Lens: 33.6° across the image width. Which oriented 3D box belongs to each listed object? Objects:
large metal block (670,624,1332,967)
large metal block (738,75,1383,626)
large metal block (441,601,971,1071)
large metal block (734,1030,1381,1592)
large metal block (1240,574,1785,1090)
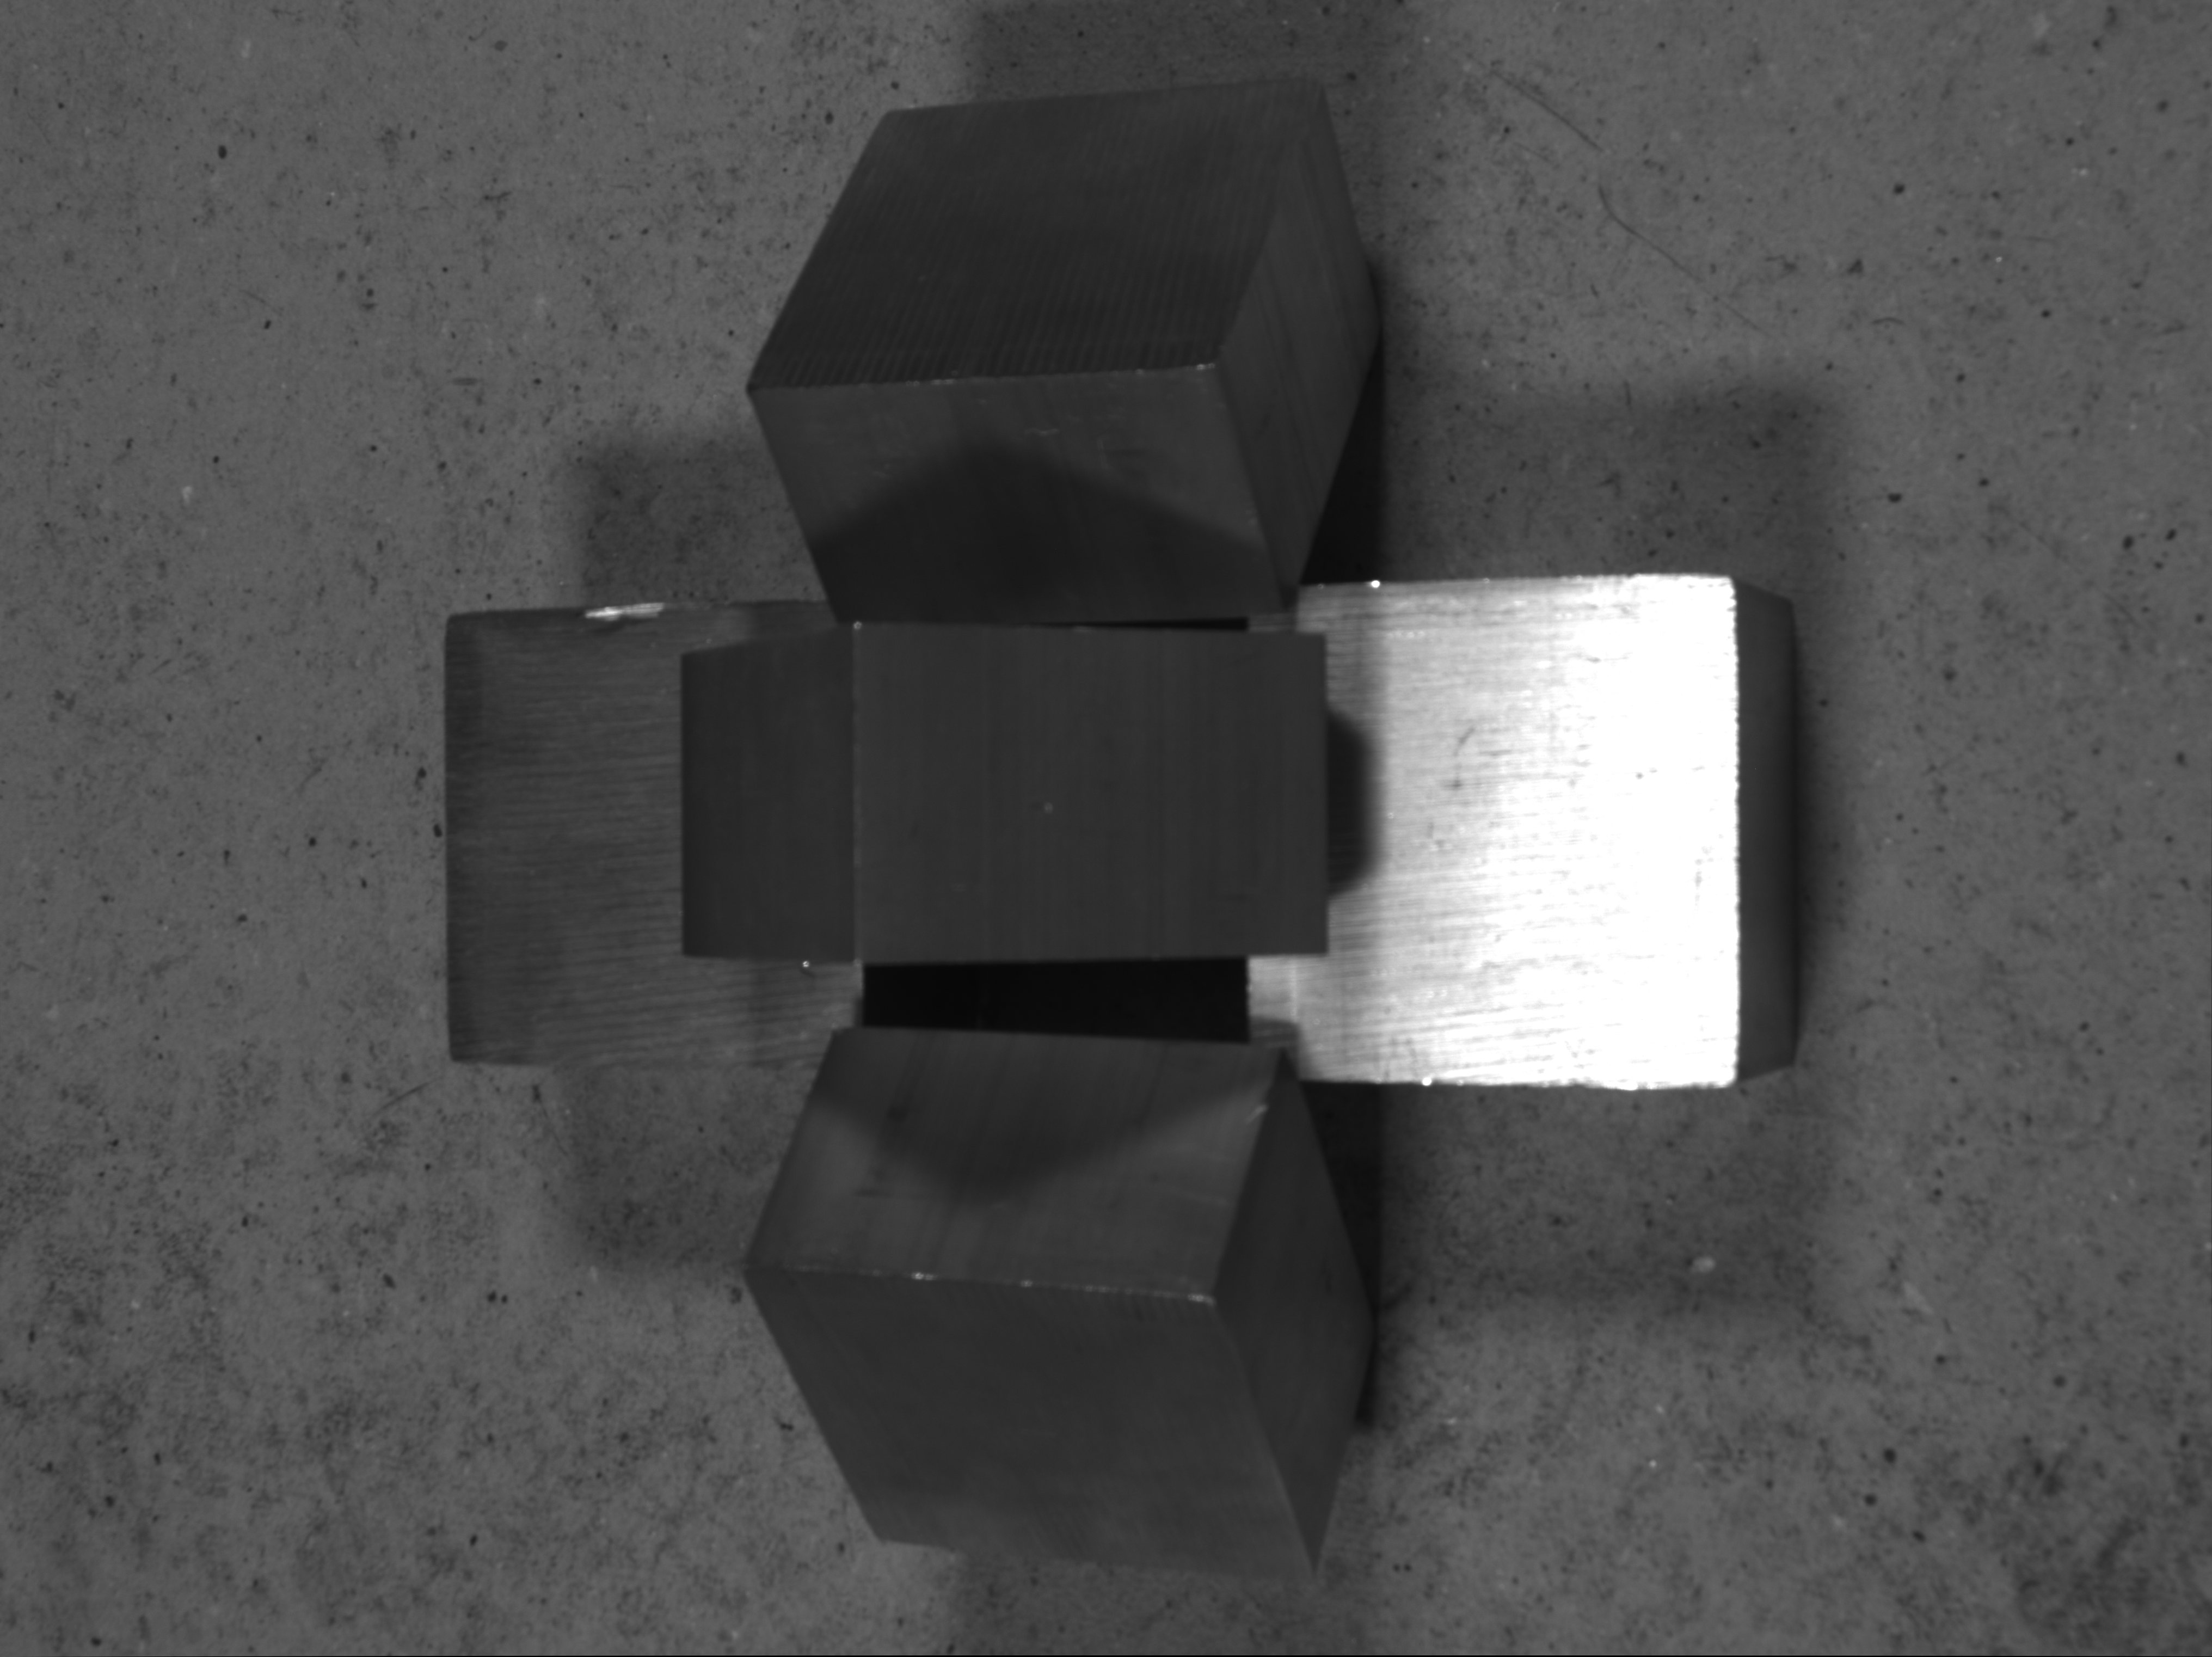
[{"bbox_3d":[-0.019,-0.005,0.587,0.080,0.080,0.050,-1,89,64],"label":"large metal block"},{"bbox_3d":[-0.005,-0.079,0.611,0.080,0.080,0.050,0,133,20],"label":"large metal block"},{"bbox_3d":[-0.071,0.002,0.656,0.080,0.050,0.080,-1,90,20],"label":"large metal block"},{"bbox_3d":[-0.005,0.080,0.611,0.080,0.080,0.050,1,47,21],"label":"large metal block"},{"bbox_3d":[0.068,0.001,0.604,0.080,0.050,0.080,0,90,20],"label":"large metal block"}]
